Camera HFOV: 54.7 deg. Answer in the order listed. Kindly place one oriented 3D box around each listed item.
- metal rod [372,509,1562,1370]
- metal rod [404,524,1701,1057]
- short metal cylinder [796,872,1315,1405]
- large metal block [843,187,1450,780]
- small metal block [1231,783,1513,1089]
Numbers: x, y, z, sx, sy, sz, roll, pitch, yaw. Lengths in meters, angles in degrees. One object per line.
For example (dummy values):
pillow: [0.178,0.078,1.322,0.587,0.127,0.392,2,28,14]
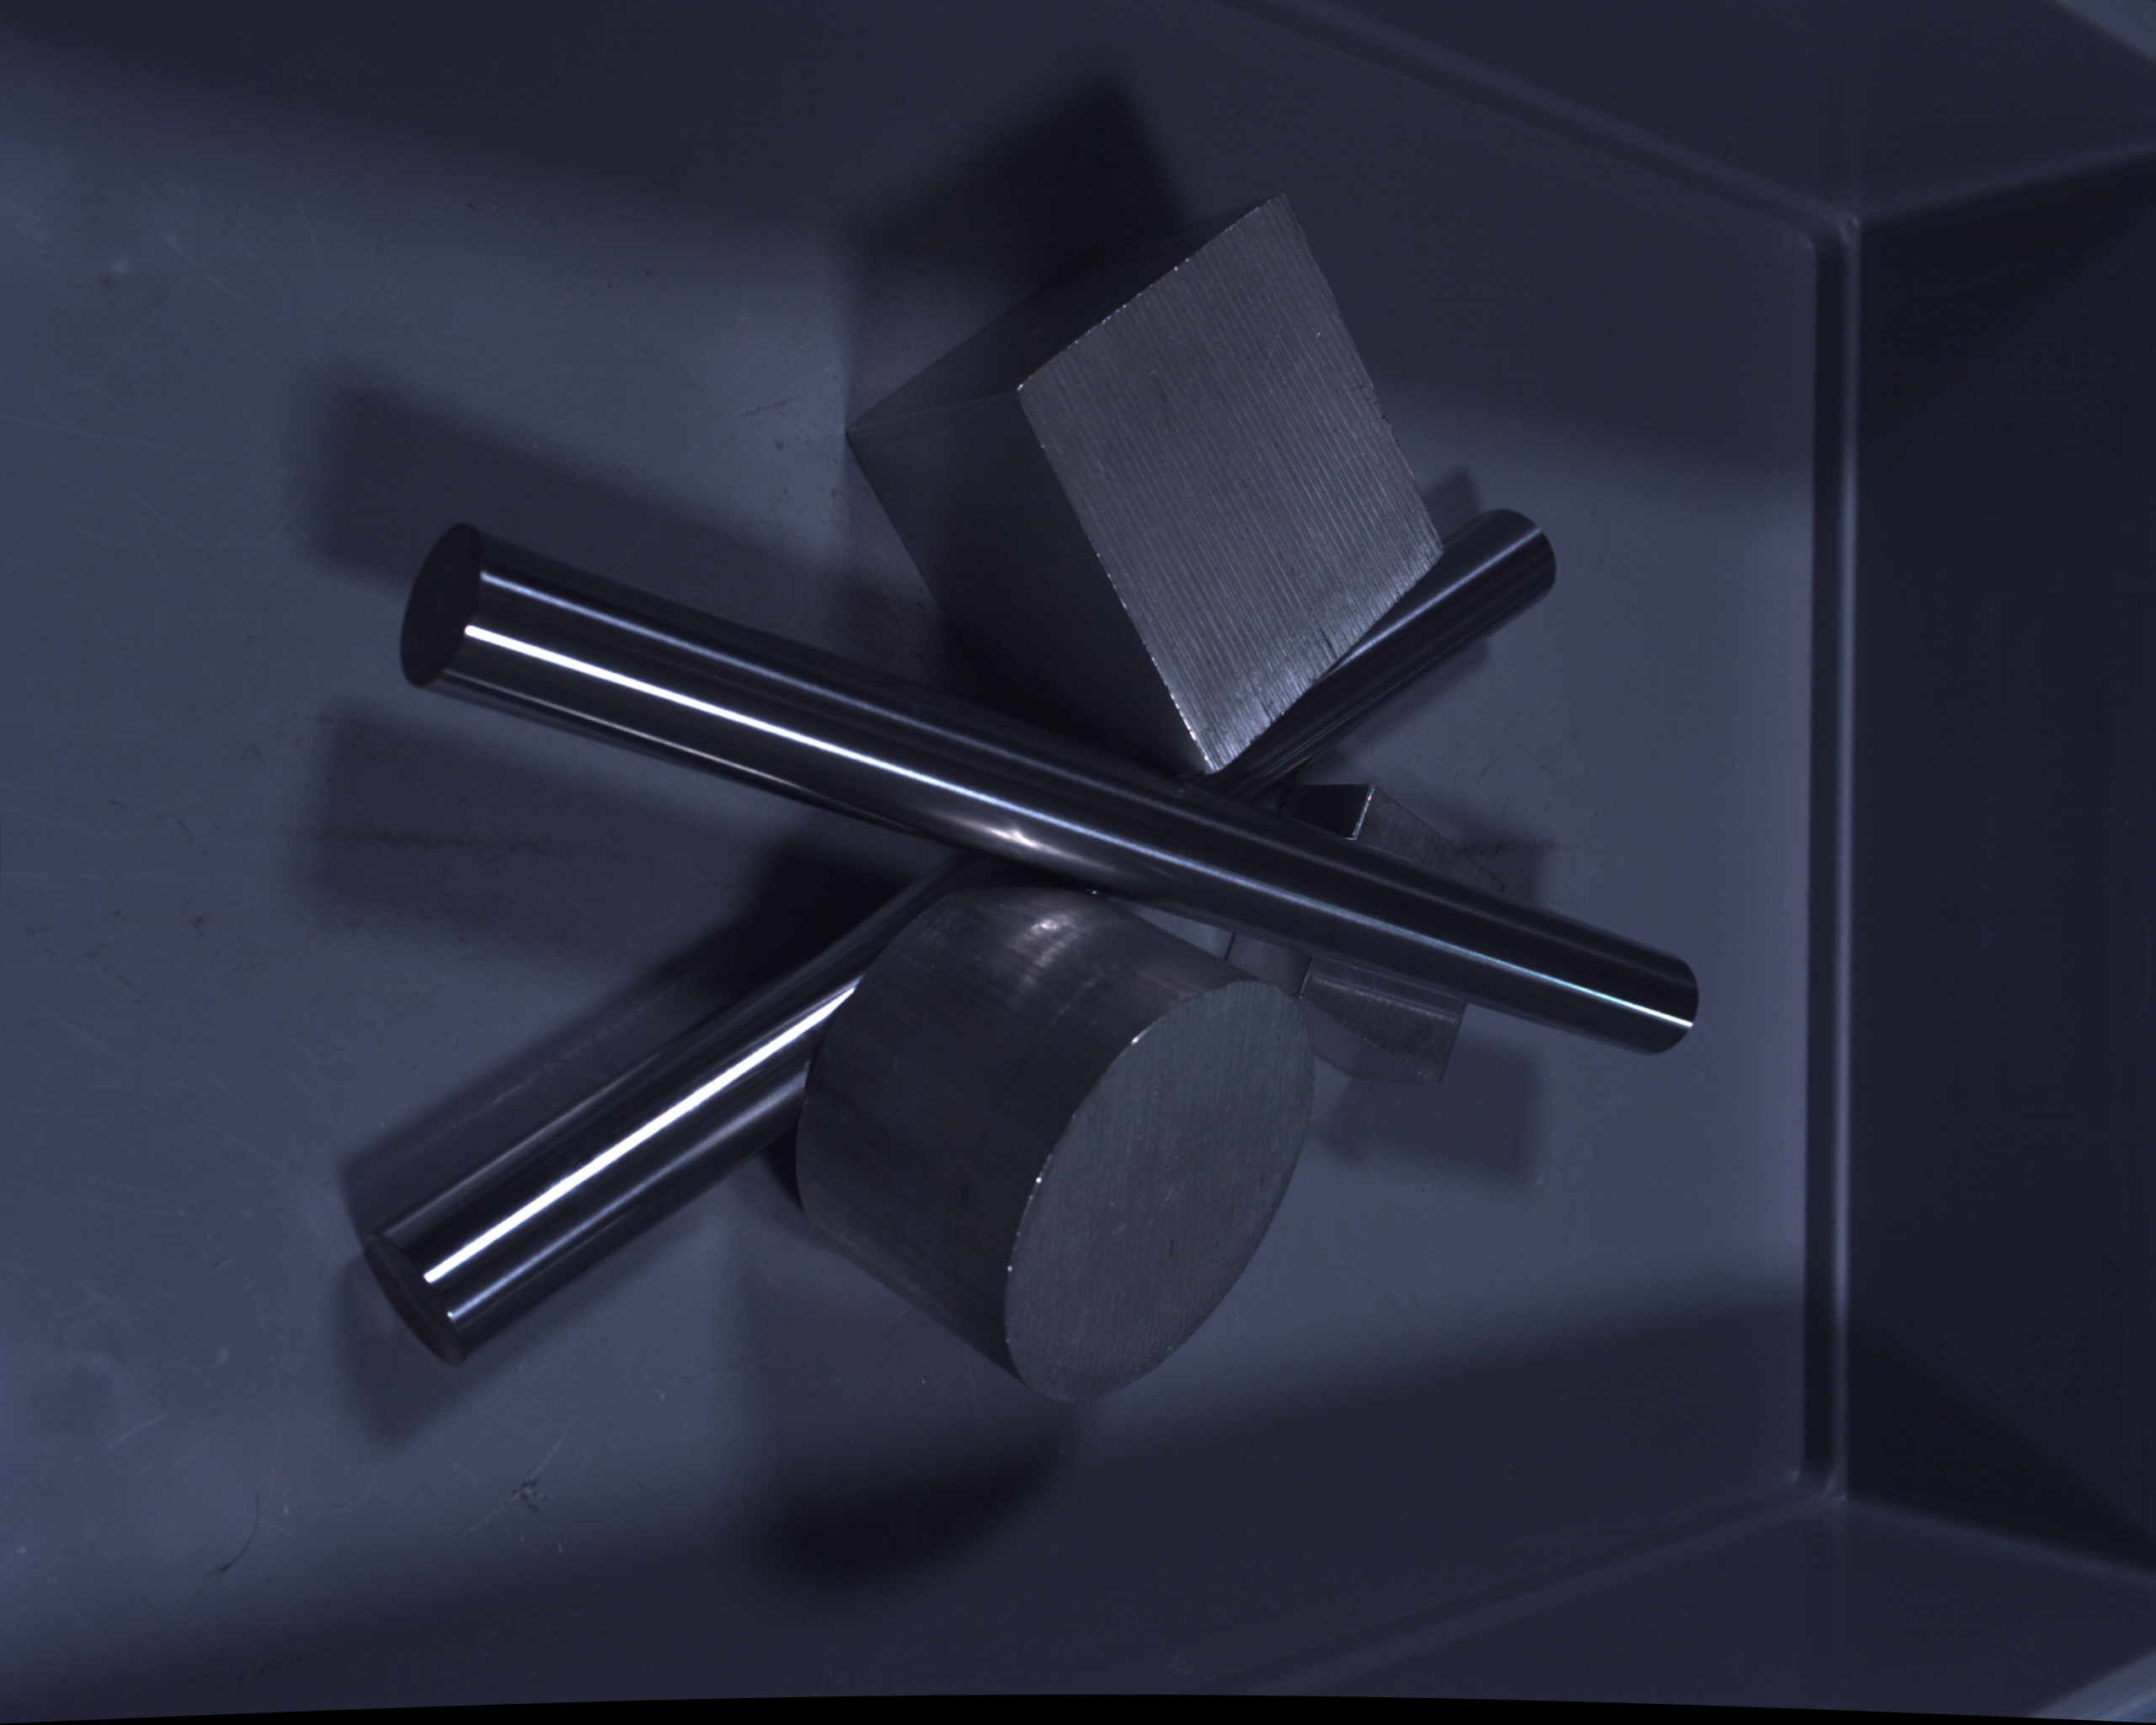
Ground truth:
metal rod: [0.001,-0.002,0.407,0.302,0.025,0.025,-34,112,-35]
metal rod: [0.022,-0.002,0.392,0.302,0.025,0.025,17,79,-39]
short metal cylinder: [-0.003,0.048,0.370,0.081,0.050,0.079,-31,134,-38]
large metal block: [0.016,-0.071,0.403,0.080,0.050,0.080,-43,117,-31]
small metal block: [0.064,0.016,0.459,0.050,0.025,0.050,33,69,-35]
